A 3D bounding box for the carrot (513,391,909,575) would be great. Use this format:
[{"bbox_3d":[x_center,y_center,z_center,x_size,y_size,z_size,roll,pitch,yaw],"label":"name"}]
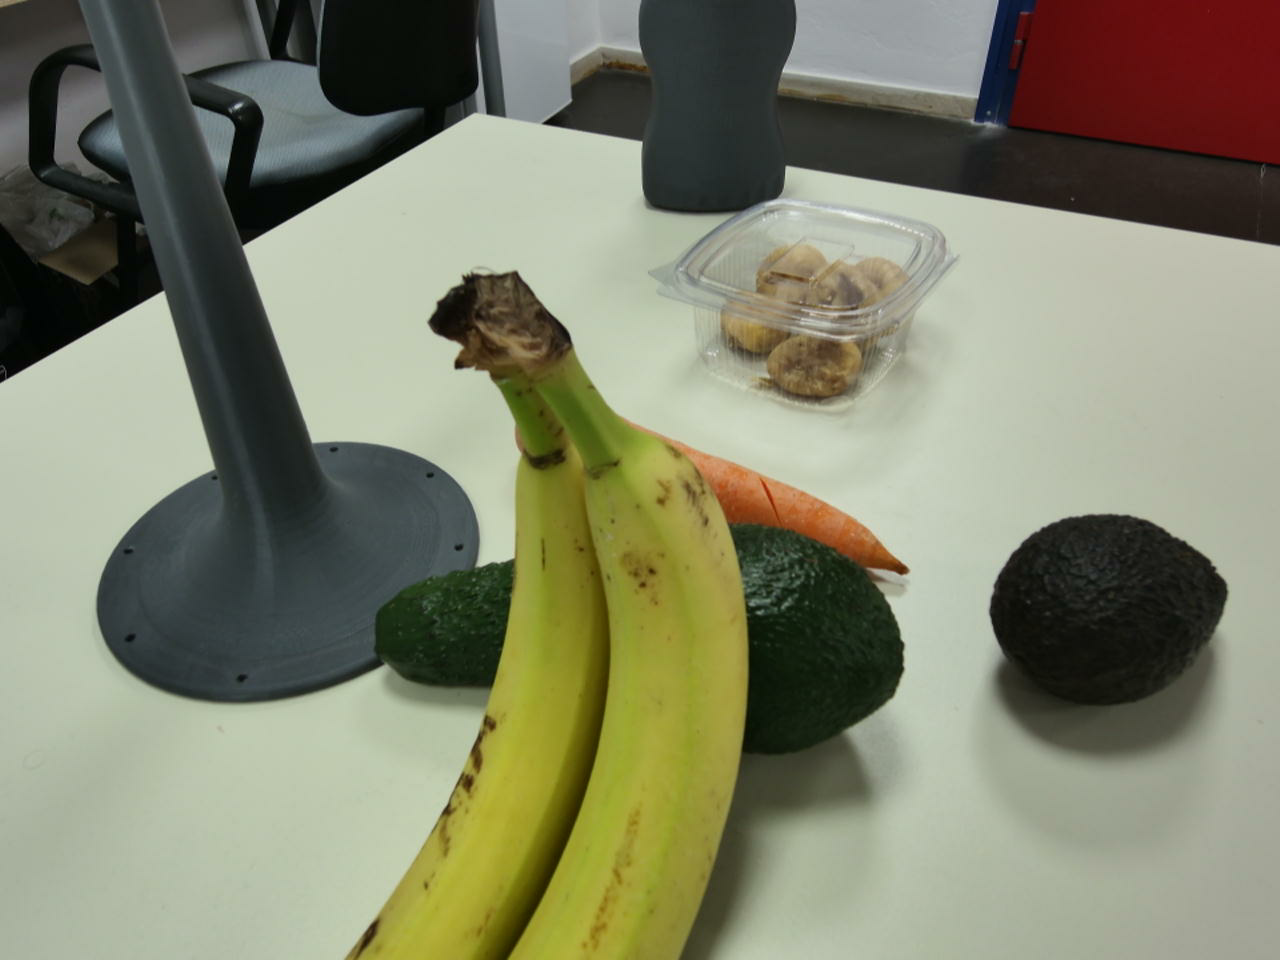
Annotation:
[{"bbox_3d":[0.028,0.000,0.458,0.196,0.041,0.039,18,40,21],"label":"carrot"}]
